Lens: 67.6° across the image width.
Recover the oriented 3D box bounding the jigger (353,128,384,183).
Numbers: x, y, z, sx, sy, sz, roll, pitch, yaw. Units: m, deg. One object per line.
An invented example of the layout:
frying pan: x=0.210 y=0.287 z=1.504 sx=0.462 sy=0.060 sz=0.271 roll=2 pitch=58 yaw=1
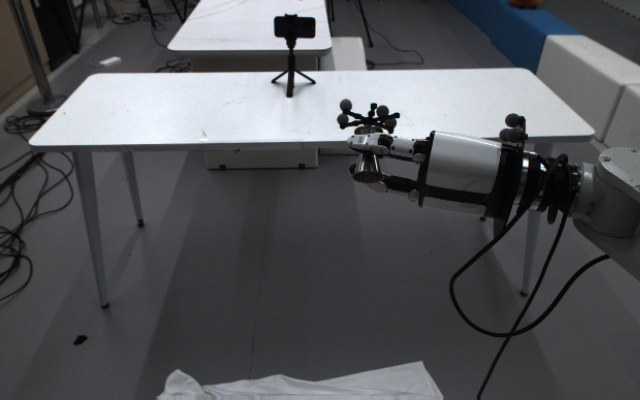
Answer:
jigger: x=0.064 y=-0.064 z=0.657 sx=0.043 sy=0.043 sz=0.071 roll=3 pitch=72 yaw=1
